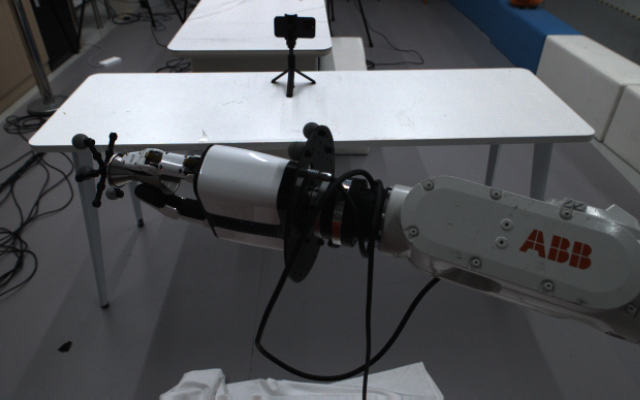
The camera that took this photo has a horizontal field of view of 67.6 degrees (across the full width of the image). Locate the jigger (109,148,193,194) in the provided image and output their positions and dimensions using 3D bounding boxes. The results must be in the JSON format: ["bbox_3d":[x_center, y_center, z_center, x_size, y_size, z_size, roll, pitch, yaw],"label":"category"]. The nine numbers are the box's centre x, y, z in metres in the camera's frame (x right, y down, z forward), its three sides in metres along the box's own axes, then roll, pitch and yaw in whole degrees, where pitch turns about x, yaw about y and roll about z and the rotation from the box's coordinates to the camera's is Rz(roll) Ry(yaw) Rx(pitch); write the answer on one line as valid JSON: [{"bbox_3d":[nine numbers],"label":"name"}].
[{"bbox_3d":[-0.192,-0.034,0.545,0.071,0.043,0.043,4,34,13],"label":"jigger"}]
